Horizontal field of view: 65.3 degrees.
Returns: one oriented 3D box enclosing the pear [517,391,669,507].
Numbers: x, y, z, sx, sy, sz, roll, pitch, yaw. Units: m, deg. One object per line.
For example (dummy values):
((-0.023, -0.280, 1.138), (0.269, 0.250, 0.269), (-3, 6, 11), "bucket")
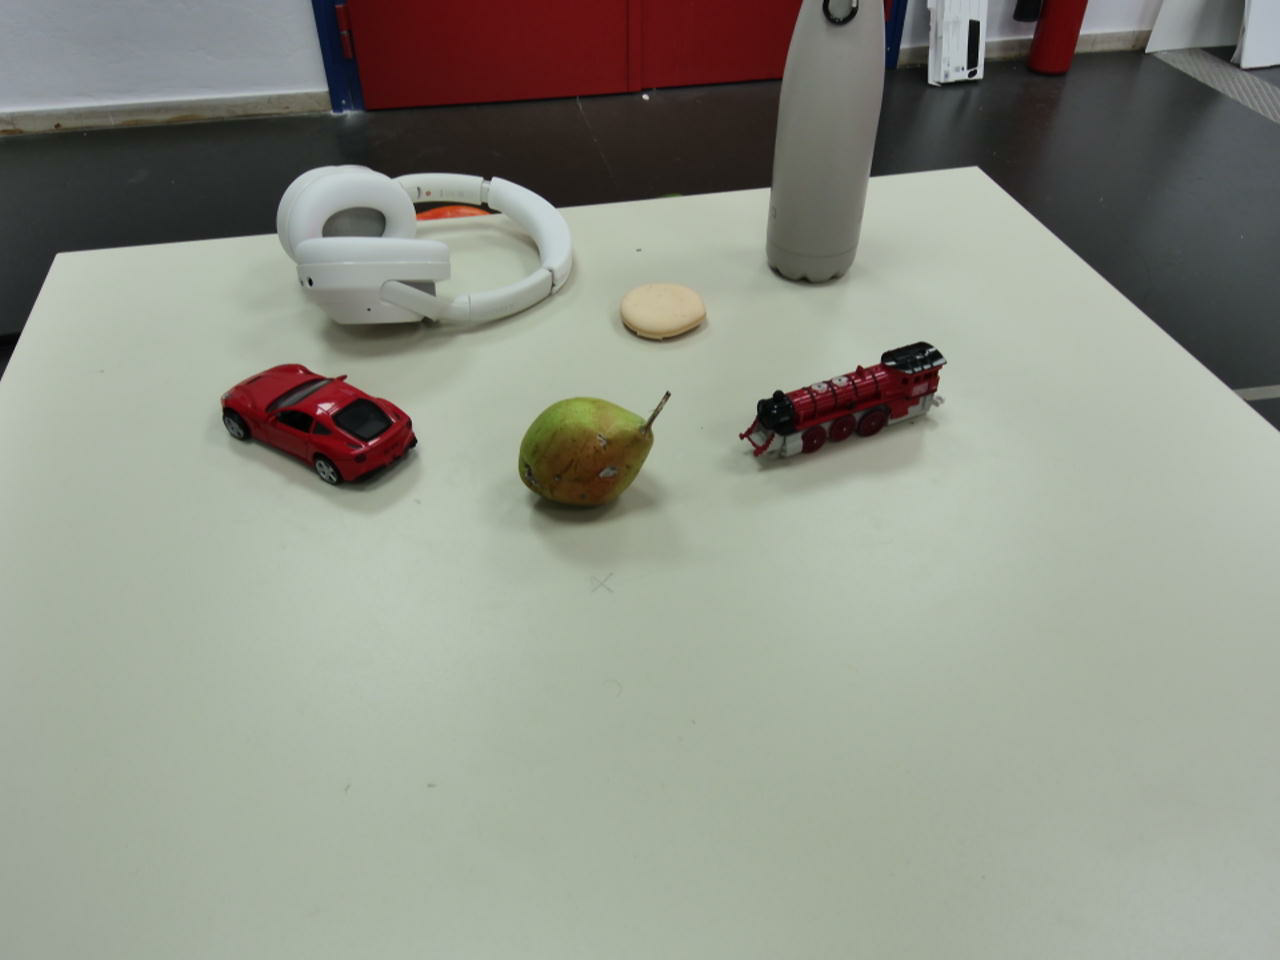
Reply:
((-0.030, -0.018, 0.567), (0.070, 0.069, 0.068), (26, 46, 29), "pear")
